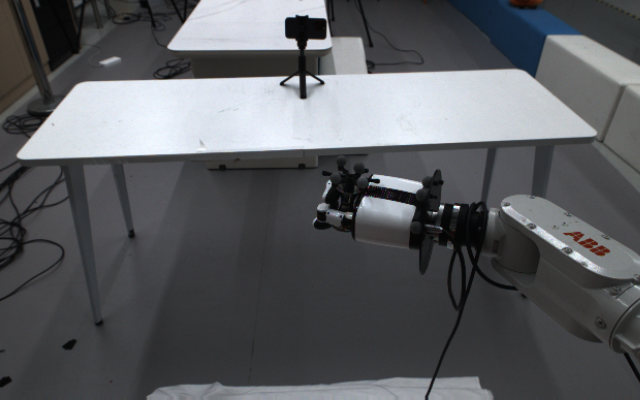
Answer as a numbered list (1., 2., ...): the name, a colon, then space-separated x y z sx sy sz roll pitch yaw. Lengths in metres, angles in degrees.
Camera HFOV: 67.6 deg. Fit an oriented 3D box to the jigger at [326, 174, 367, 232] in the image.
1. jigger: 0.043 0.010 0.760 0.043 0.071 0.043 6 26 -3
